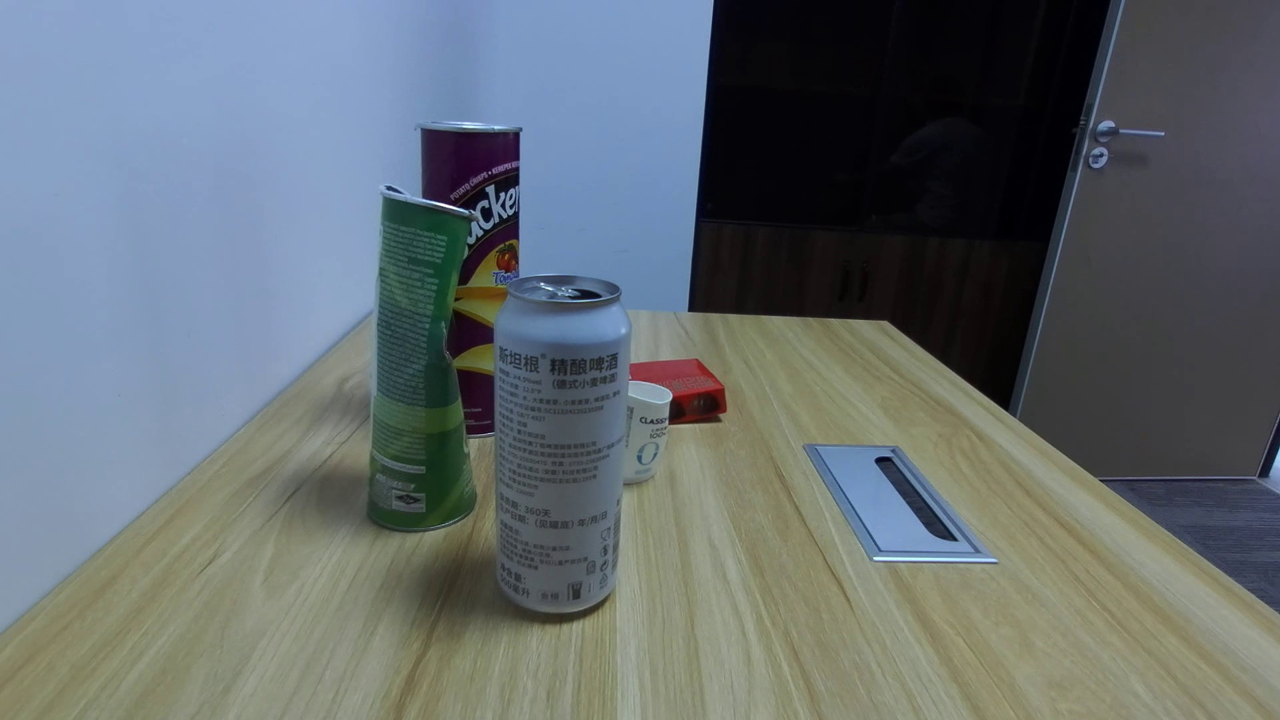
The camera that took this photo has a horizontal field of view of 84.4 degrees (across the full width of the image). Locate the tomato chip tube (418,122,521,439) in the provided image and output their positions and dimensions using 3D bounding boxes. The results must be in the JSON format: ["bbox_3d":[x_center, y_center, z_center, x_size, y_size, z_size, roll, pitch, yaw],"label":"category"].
[{"bbox_3d":[-0.125,-0.052,0.539,0.080,0.234,0.076,-5,5,-39],"label":"tomato chip tube"}]

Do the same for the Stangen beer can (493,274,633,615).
[{"bbox_3d":[-0.041,0.045,0.365,0.067,0.171,0.067,3,19,-1],"label":"Stangen beer can"}]

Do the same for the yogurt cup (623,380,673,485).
[{"bbox_3d":[-0.013,0.044,0.511,0.075,0.071,0.054,12,23,15],"label":"yogurt cup"}]

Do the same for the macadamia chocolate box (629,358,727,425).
[{"bbox_3d":[0.009,0.029,0.636,0.127,0.056,0.112,0,33,-10],"label":"macadamia chocolate box"}]

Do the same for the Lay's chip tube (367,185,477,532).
[{"bbox_3d":[-0.136,0.000,0.431,0.077,0.201,0.069,10,19,12],"label":"Lay's chip tube"}]
